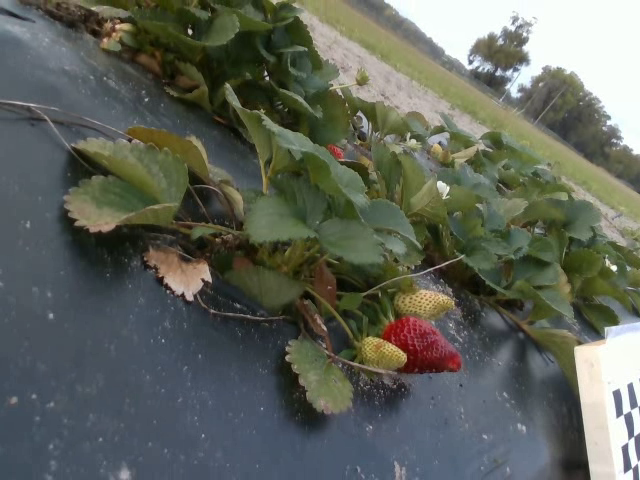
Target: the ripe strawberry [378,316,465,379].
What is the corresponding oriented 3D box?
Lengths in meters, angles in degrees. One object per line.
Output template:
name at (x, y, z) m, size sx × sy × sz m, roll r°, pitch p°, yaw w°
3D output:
ripe strawberry at (0.068, 0.072, 0.379) m, size 0.059 × 0.046 × 0.046 m, roll 16°, pitch 13°, yaw 40°
